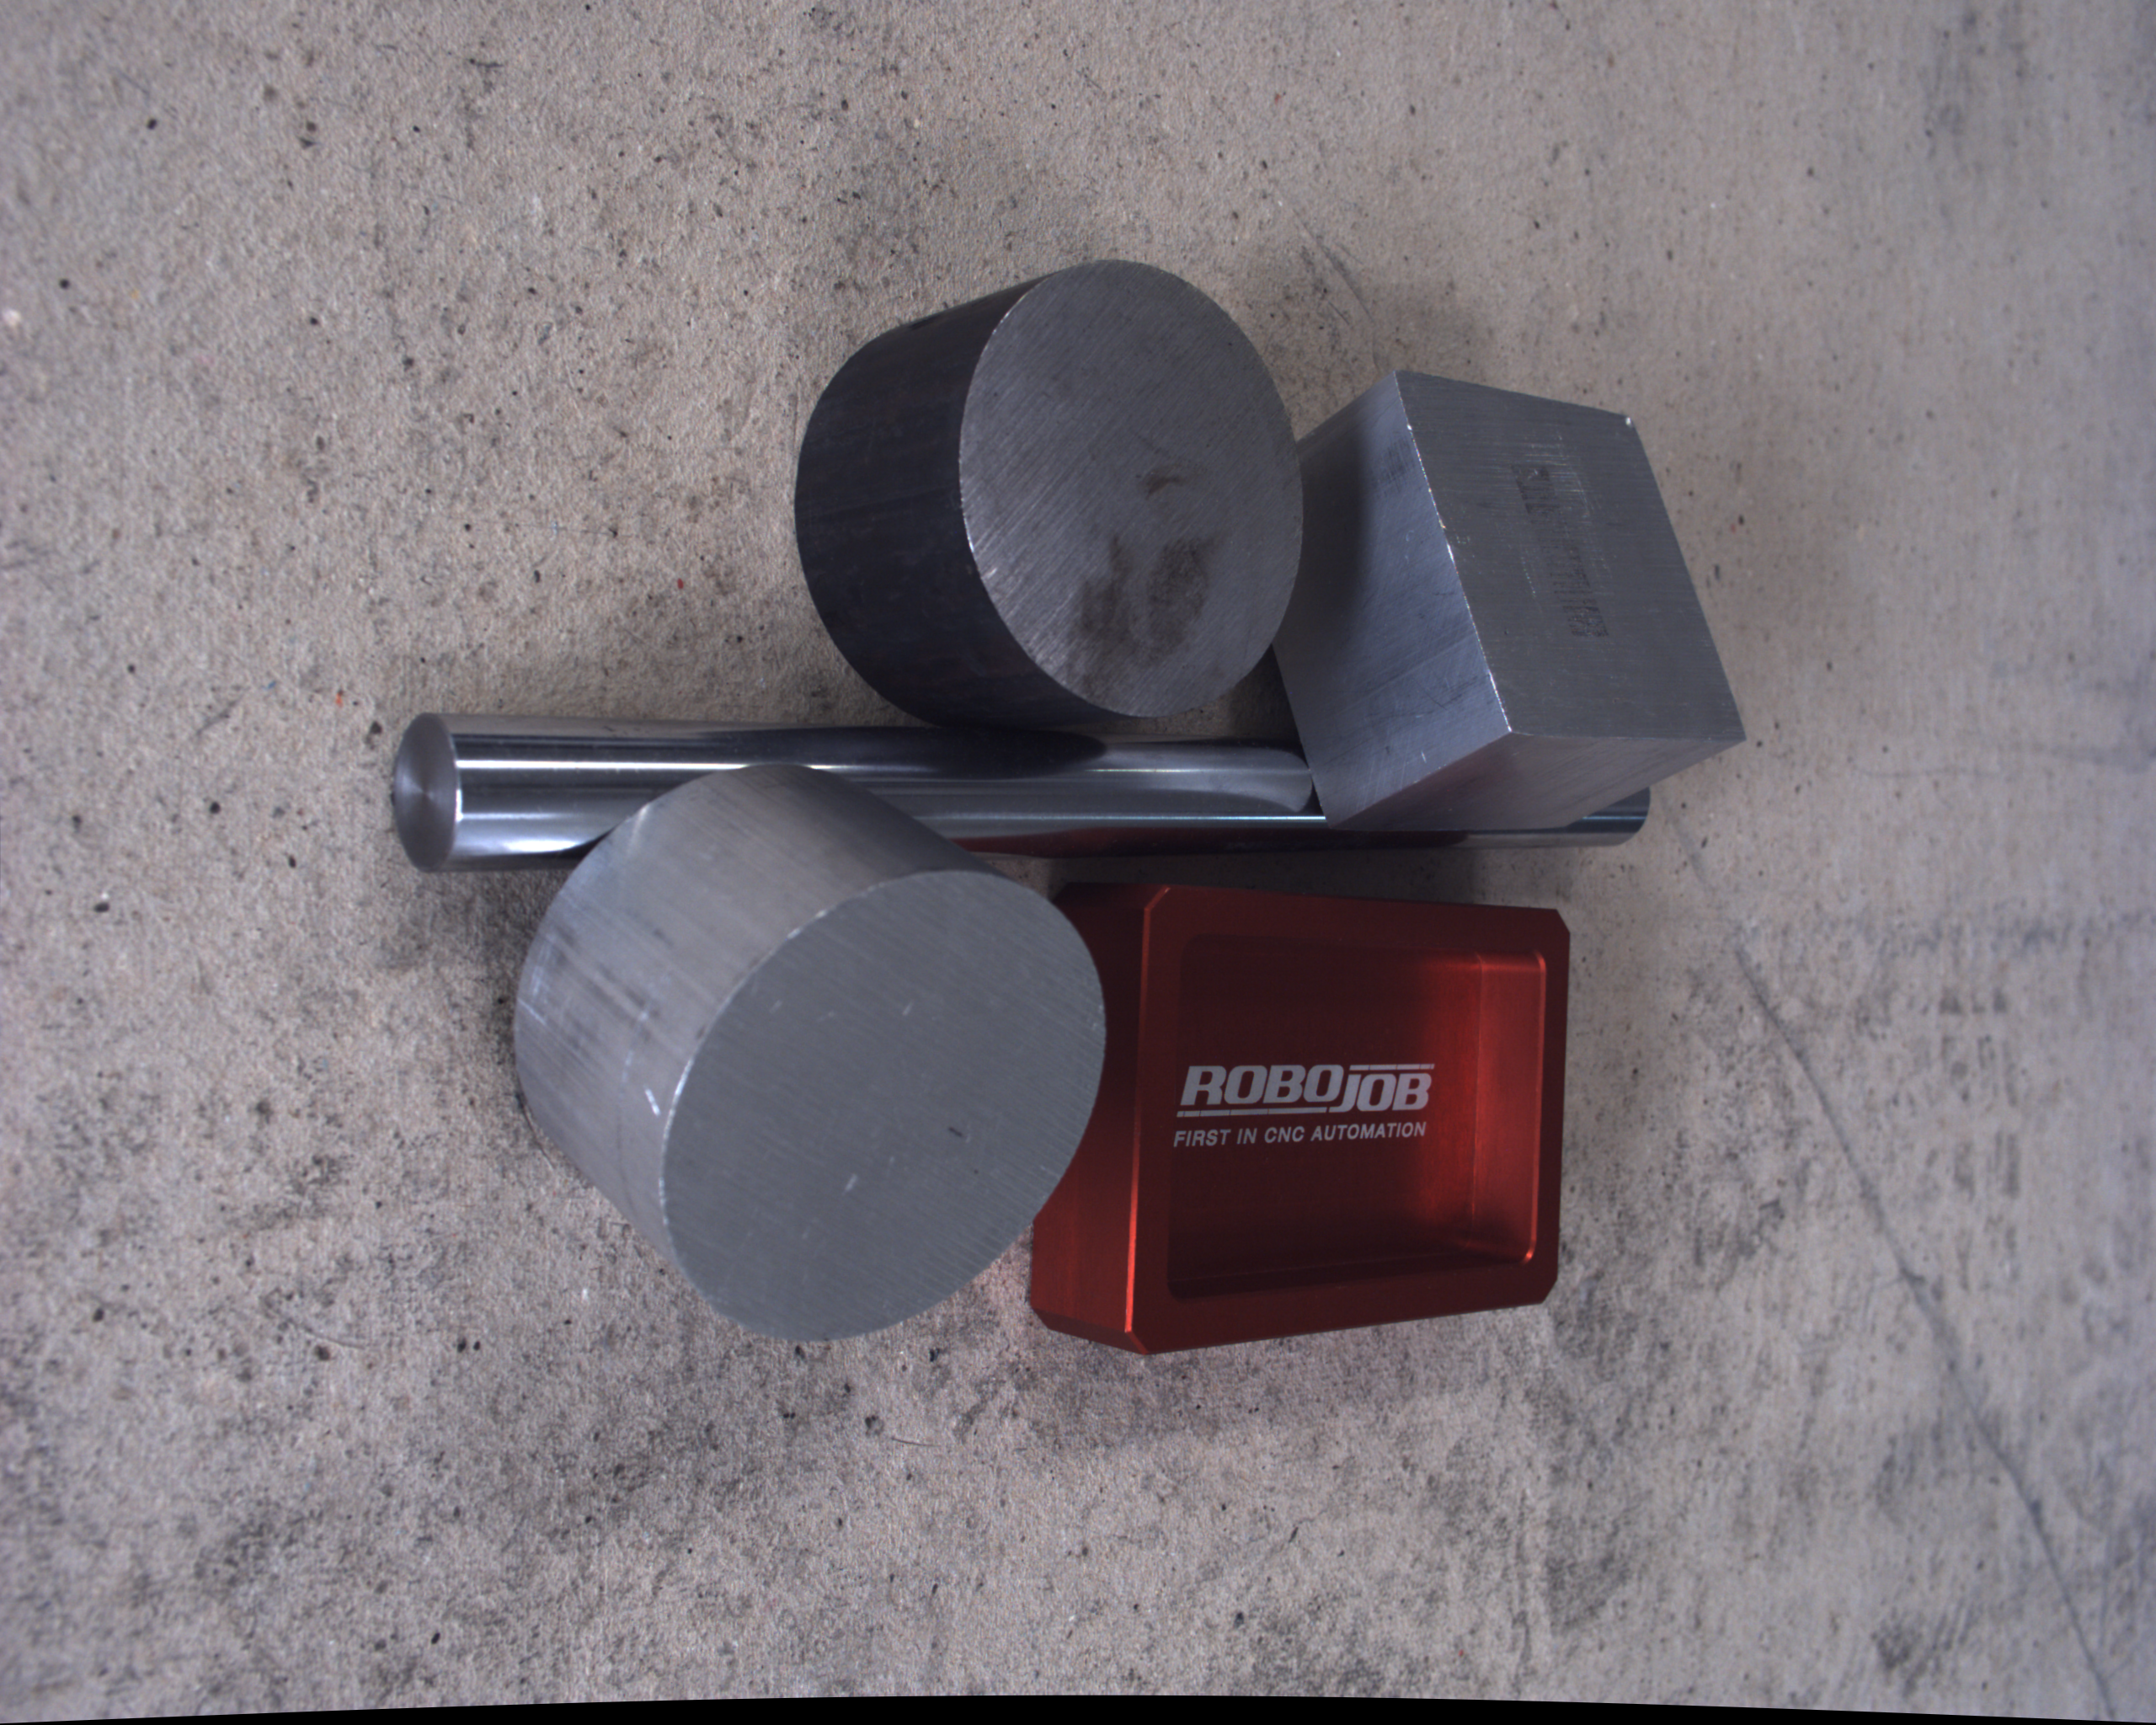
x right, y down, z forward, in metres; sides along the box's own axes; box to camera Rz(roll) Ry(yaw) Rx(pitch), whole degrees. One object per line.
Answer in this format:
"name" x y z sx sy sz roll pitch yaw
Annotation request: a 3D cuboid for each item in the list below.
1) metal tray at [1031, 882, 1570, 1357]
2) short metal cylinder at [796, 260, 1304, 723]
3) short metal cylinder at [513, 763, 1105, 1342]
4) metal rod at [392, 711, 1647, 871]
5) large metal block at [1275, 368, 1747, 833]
"metal tray" 0.052 0.052 0.445 0.131 0.030 0.089 4 87 -40
"short metal cylinder" -0.004 -0.066 0.386 0.081 0.050 0.080 0 89 -40
"short metal cylinder" -0.043 0.030 0.338 0.081 0.050 0.079 -19 123 -33
"metal rod" 0.015 -0.014 0.420 0.302 0.025 0.025 -1 91 -40
"large metal block" 0.087 -0.053 0.447 0.081 0.050 0.080 -1 70 -40
